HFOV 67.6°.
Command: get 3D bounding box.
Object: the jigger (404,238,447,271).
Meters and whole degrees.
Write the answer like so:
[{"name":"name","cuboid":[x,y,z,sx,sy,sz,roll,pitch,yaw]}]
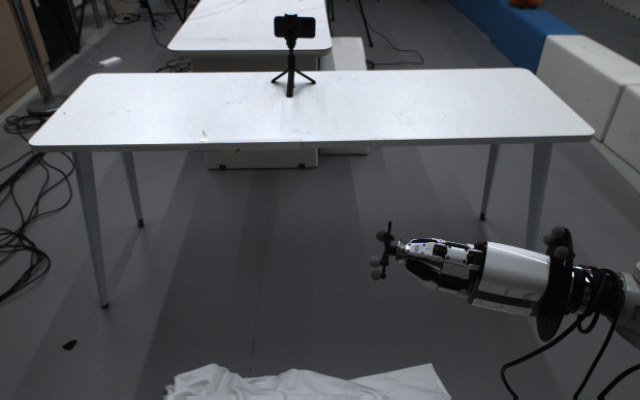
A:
[{"name":"jigger","cuboid":[0.156,0.077,0.717,0.071,0.043,0.043,7,35,15]}]
